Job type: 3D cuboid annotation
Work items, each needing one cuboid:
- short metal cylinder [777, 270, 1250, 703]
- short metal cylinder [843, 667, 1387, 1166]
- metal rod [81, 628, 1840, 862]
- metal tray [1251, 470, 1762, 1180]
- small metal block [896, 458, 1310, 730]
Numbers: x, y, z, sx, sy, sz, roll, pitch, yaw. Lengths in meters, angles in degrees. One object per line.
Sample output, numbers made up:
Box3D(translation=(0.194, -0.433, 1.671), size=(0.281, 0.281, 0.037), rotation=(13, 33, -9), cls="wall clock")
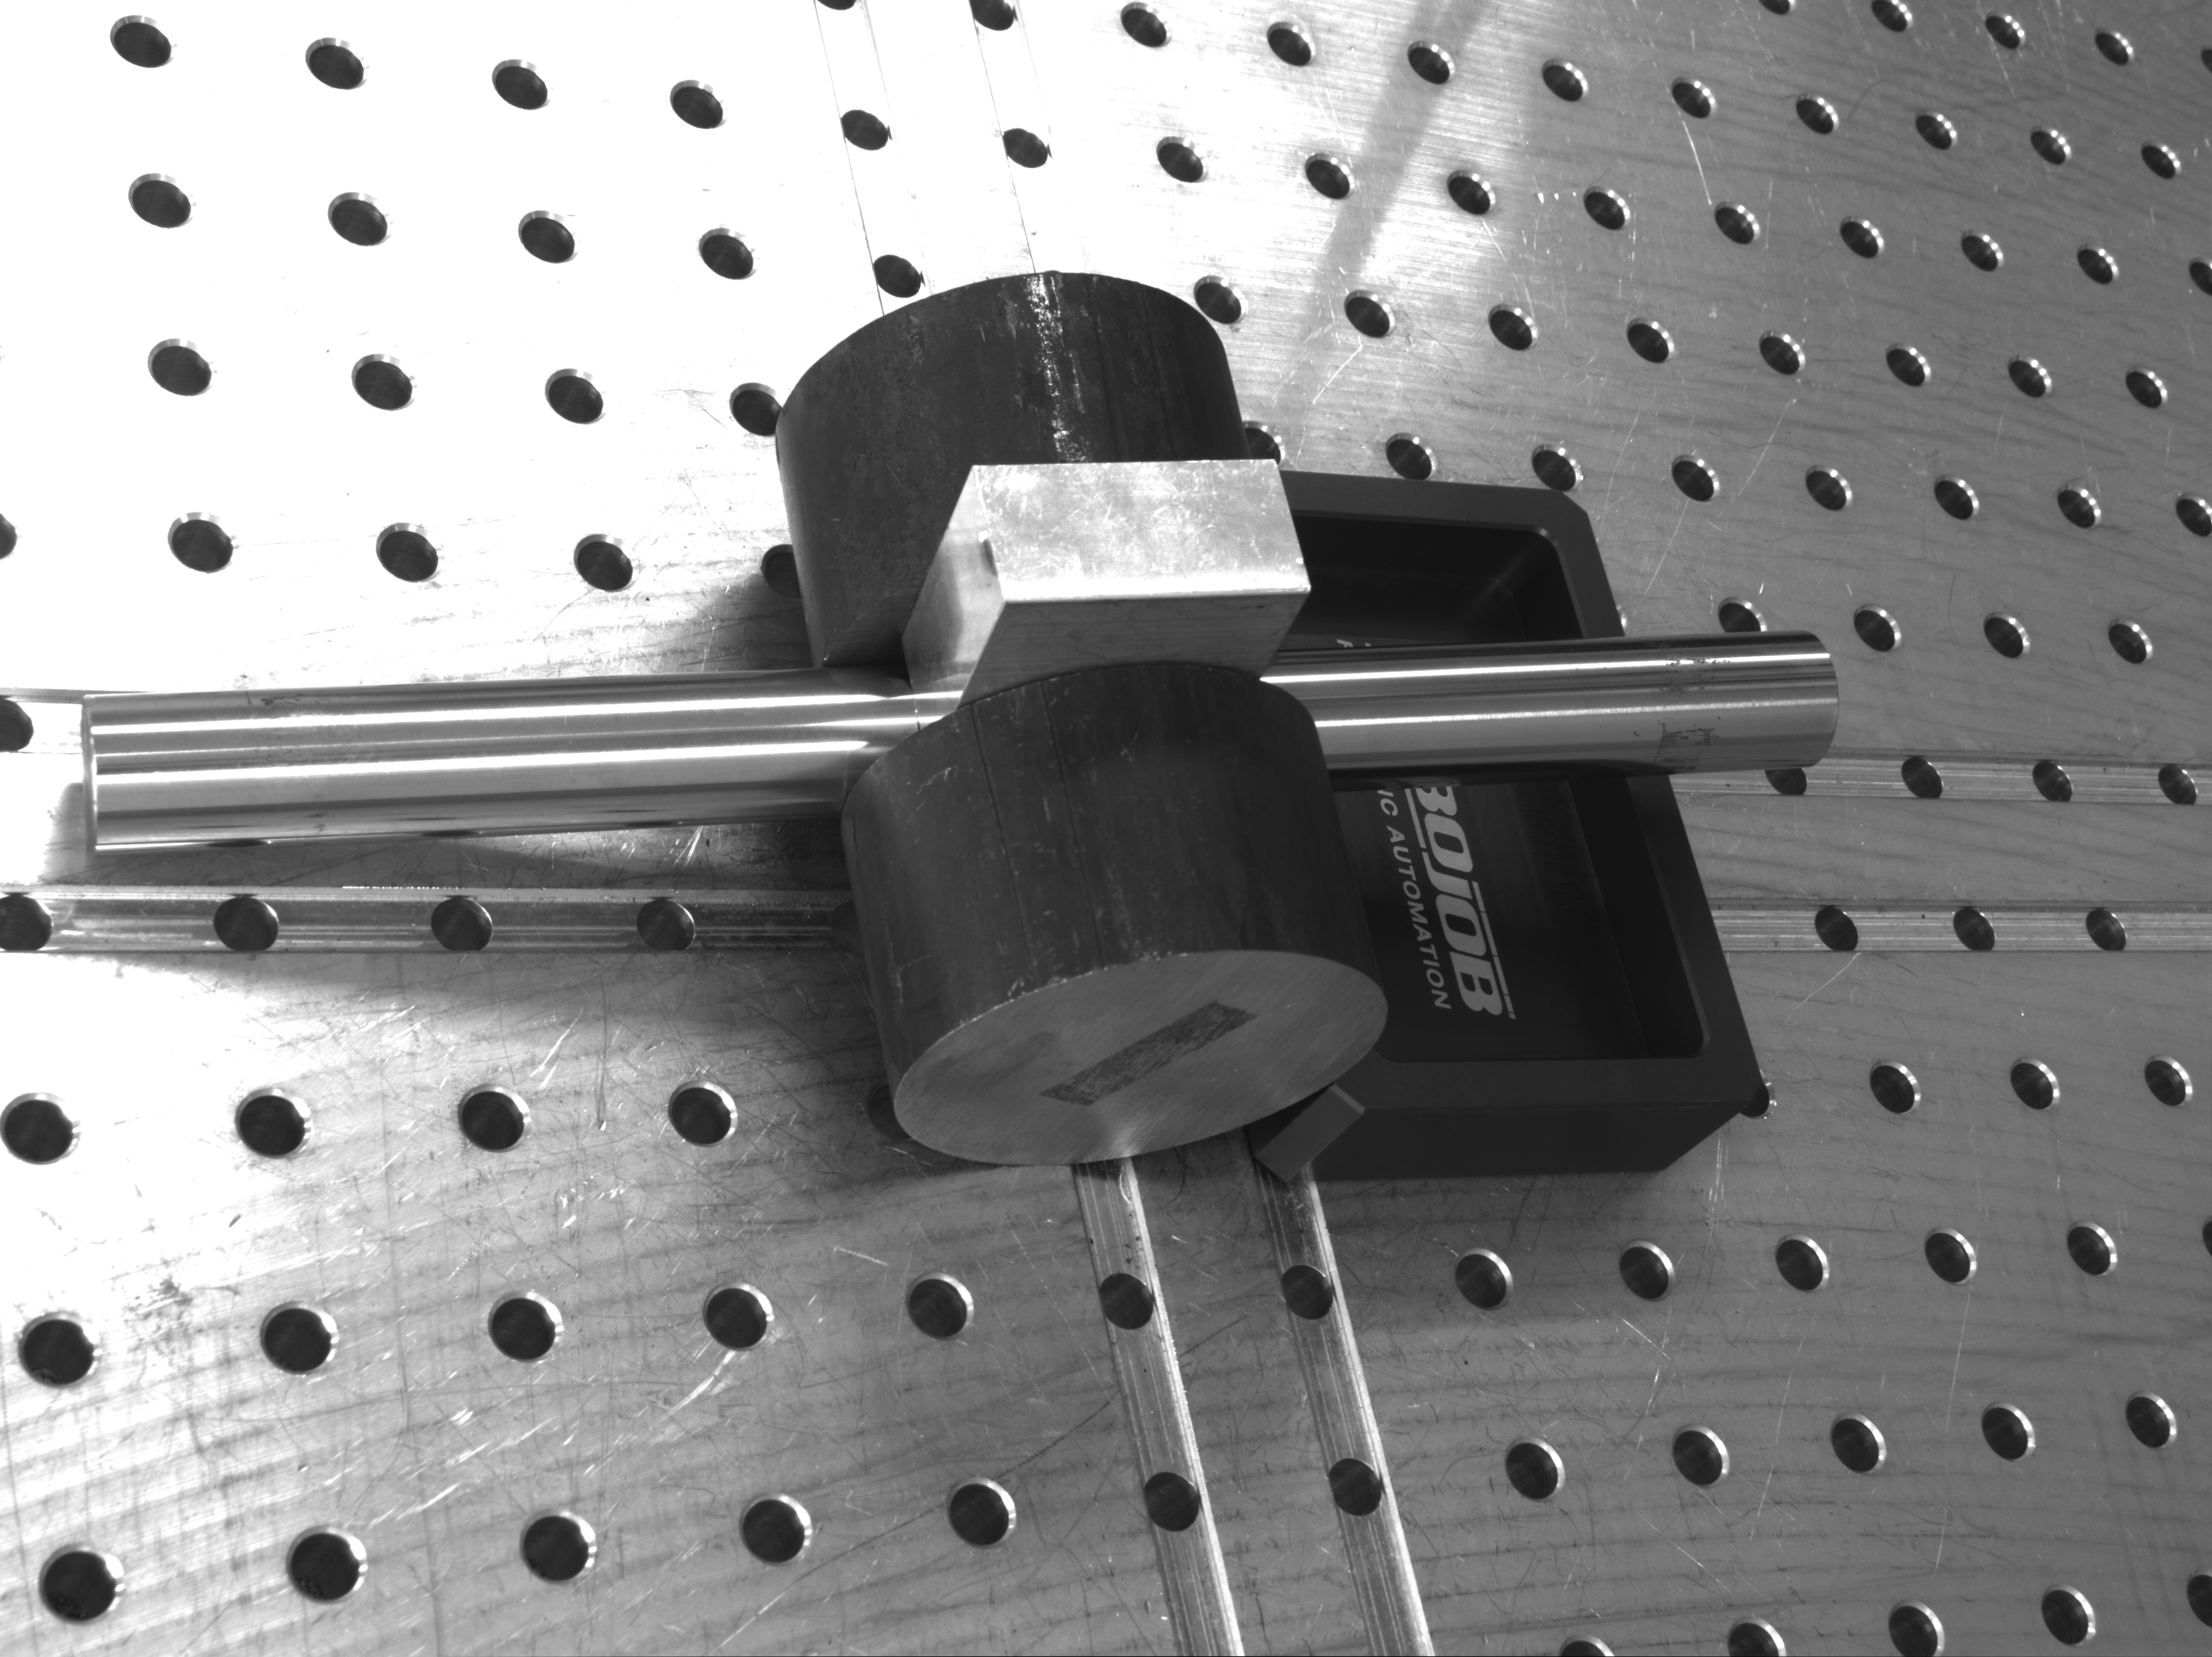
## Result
Box3D(translation=(-0.013, -0.051, 0.630), size=(0.080, 0.080, 0.050), rotation=(1, 61, -28), cls="short metal cylinder")
Box3D(translation=(0.001, 0.016, 0.598), size=(0.080, 0.080, 0.050), rotation=(2, 61, -27), cls="short metal cylinder")
Box3D(translation=(-0.015, -0.016, 0.614), size=(0.301, 0.025, 0.025), rotation=(-3, 63, -20), cls="metal rod")
Box3D(translation=(0.059, -0.002, 0.672), size=(0.090, 0.030, 0.130), rotation=(1, 61, -27), cls="metal tray")
Box3D(translation=(-0.001, -0.034, 0.585), size=(0.050, 0.050, 0.025), rotation=(-3, 63, -20), cls="small metal block")
